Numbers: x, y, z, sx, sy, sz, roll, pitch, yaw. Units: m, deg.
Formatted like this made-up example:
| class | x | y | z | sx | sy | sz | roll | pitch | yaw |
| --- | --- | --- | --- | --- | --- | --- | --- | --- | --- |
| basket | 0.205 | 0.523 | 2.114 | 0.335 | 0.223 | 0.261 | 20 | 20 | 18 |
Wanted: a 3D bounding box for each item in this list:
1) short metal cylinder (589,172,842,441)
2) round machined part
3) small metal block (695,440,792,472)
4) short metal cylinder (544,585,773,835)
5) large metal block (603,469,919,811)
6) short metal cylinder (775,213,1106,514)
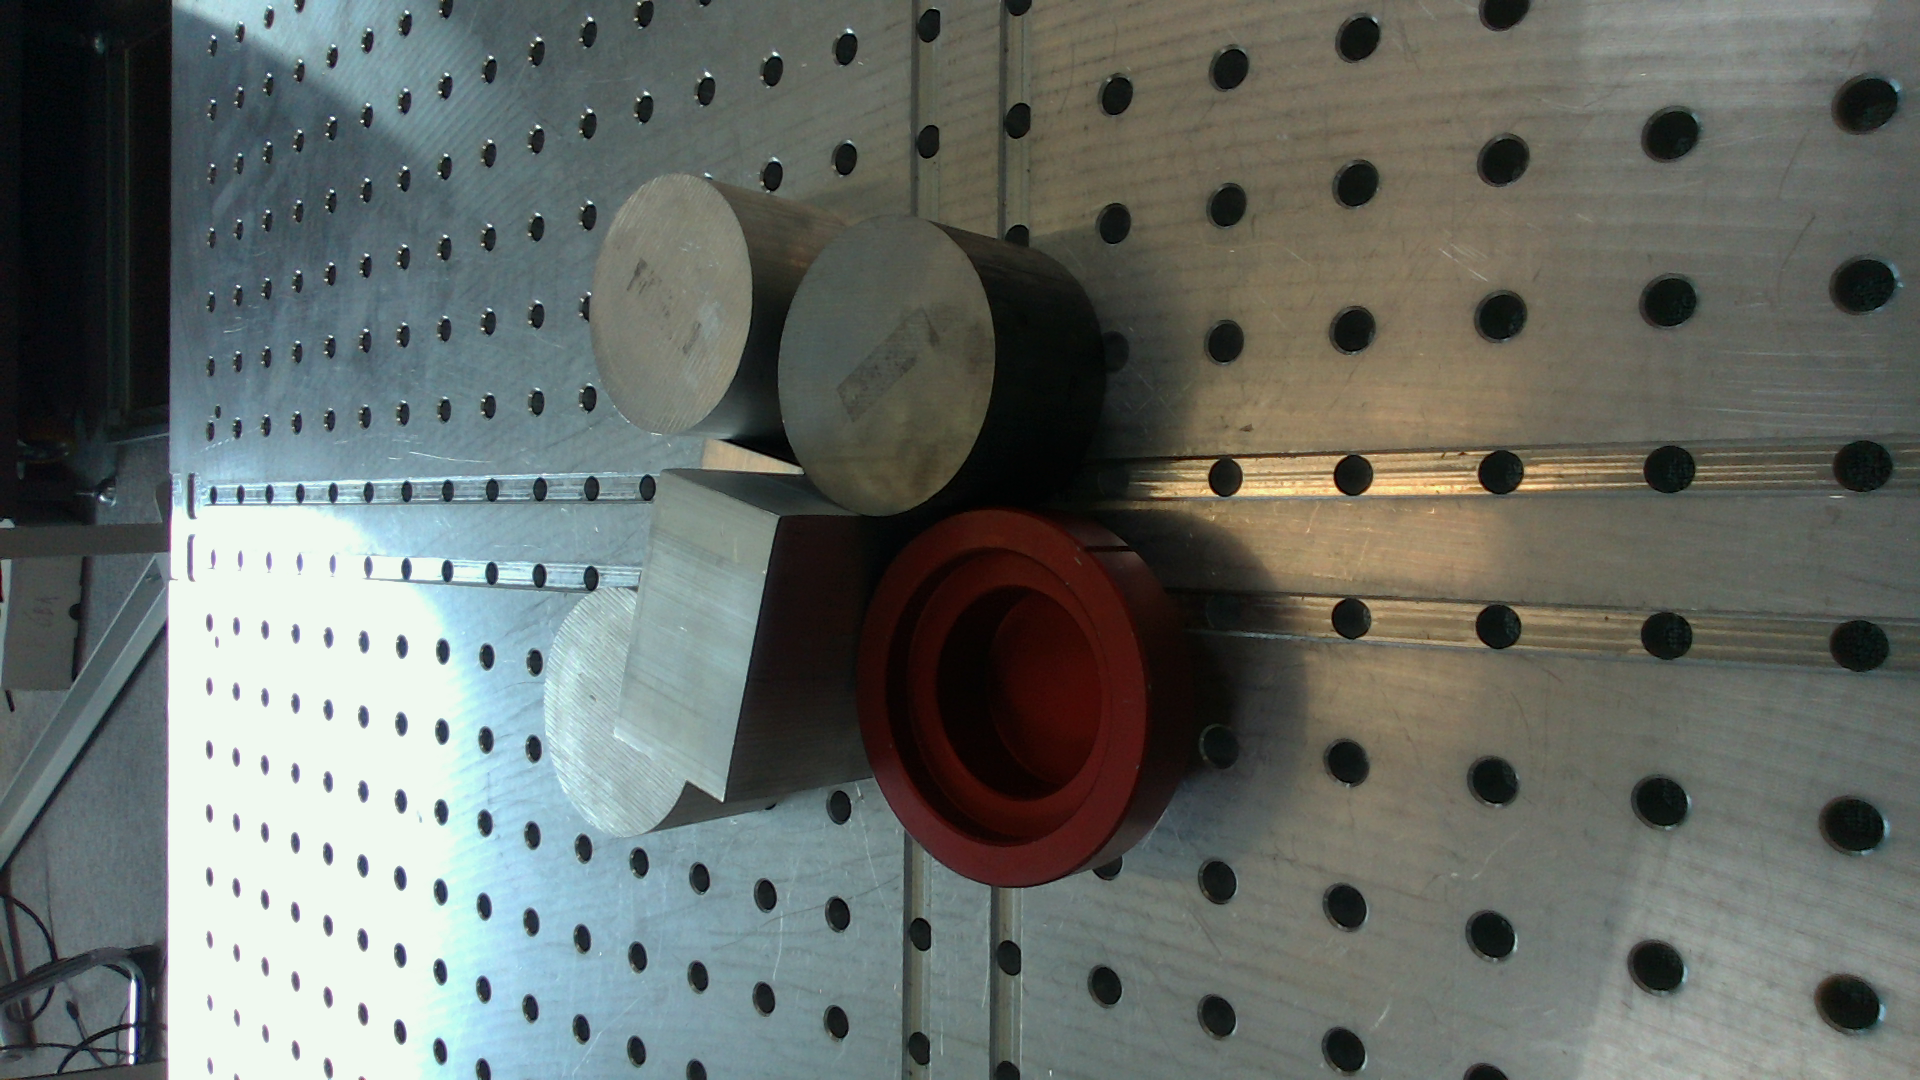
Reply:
| class | x | y | z | sx | sy | sz | roll | pitch | yaw |
| --- | --- | --- | --- | --- | --- | --- | --- | --- | --- |
| short metal cylinder | -0.075 | -0.073 | 0.444 | 0.080 | 0.050 | 0.080 | 0 | 90 | 40 |
| round machined part | 0.021 | 0.040 | 0.369 | 0.098 | 0.042 | 0.098 | 0 | 90 | 40 |
| small metal block | -0.064 | -0.005 | 0.451 | 0.050 | 0.025 | 0.050 | 19 | 102 | 39 |
| short metal cylinder | -0.095 | 0.054 | 0.461 | 0.080 | 0.050 | 0.080 | 0 | 90 | 40 |
| large metal block | -0.049 | 0.026 | 0.399 | 0.050 | 0.080 | 0.080 | 20 | 103 | 38 |
| short metal cylinder | -0.006 | -0.047 | 0.386 | 0.080 | 0.050 | 0.080 | 0 | 90 | 40 |
